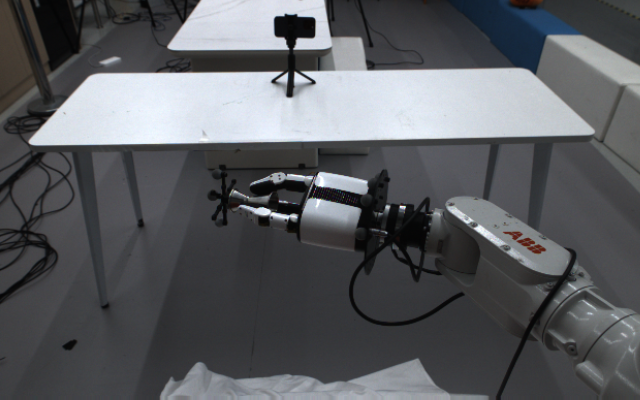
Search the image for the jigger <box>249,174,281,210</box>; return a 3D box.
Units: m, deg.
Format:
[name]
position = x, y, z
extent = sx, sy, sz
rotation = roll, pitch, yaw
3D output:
[jigger]
position = -0.098, 0.001, 0.762
extent = 0.071, 0.043, 0.043
rotation = 6, 35, 15
